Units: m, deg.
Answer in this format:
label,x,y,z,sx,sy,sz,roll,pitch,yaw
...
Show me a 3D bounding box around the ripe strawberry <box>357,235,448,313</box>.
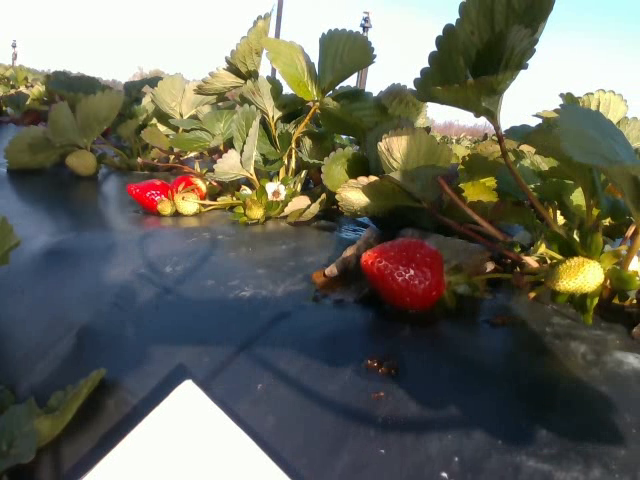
label,x,y,z,sx,sy,sz,roll,pitch,yaw
ripe strawberry,0.029,0.013,0.268,0.054,0.038,0.047,9,25,-25
